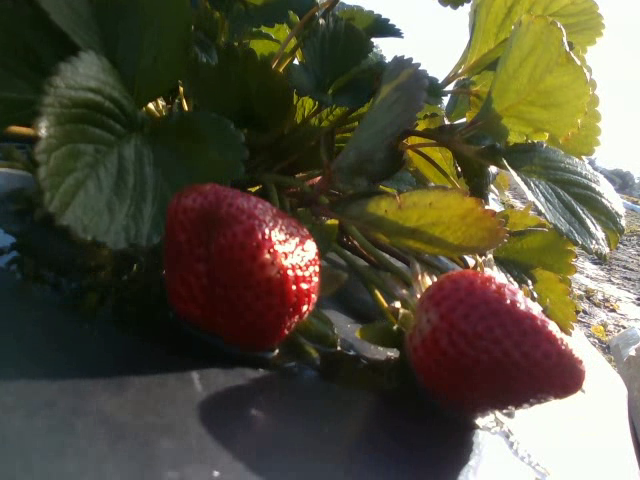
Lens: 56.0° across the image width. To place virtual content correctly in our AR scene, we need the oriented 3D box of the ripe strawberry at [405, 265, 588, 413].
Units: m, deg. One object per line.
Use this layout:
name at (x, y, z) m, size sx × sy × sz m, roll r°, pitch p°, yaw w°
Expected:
ripe strawberry at (0.048, 0.026, 0.157) m, size 0.043 × 0.039 × 0.053 m, roll 37°, pitch -17°, yaw -33°

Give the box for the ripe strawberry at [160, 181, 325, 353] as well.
ripe strawberry at (-0.019, 0.005, 0.153) m, size 0.039 × 0.048 × 0.054 m, roll -30°, pitch -26°, yaw -2°
